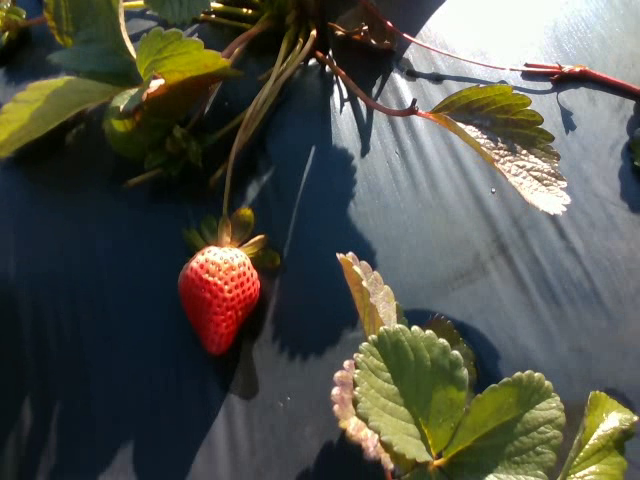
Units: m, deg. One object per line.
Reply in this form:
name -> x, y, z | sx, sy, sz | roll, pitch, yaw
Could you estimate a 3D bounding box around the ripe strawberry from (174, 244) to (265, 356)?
ripe strawberry -> -0.045, 0.028, 0.269 | 0.043, 0.064, 0.044 | 16, -38, -35
